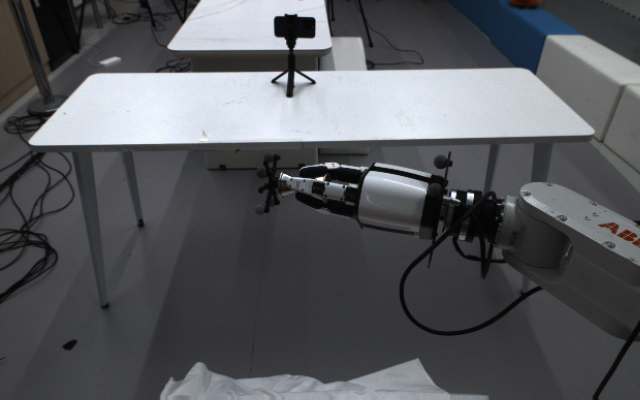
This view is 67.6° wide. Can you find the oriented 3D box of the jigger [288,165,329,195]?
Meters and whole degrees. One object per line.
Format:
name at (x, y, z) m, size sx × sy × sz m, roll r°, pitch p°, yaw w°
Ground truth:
jigger at (-0.016, -0.023, 0.696) m, size 0.071 × 0.043 × 0.043 m, roll 5°, pitch 34°, yaw 15°
